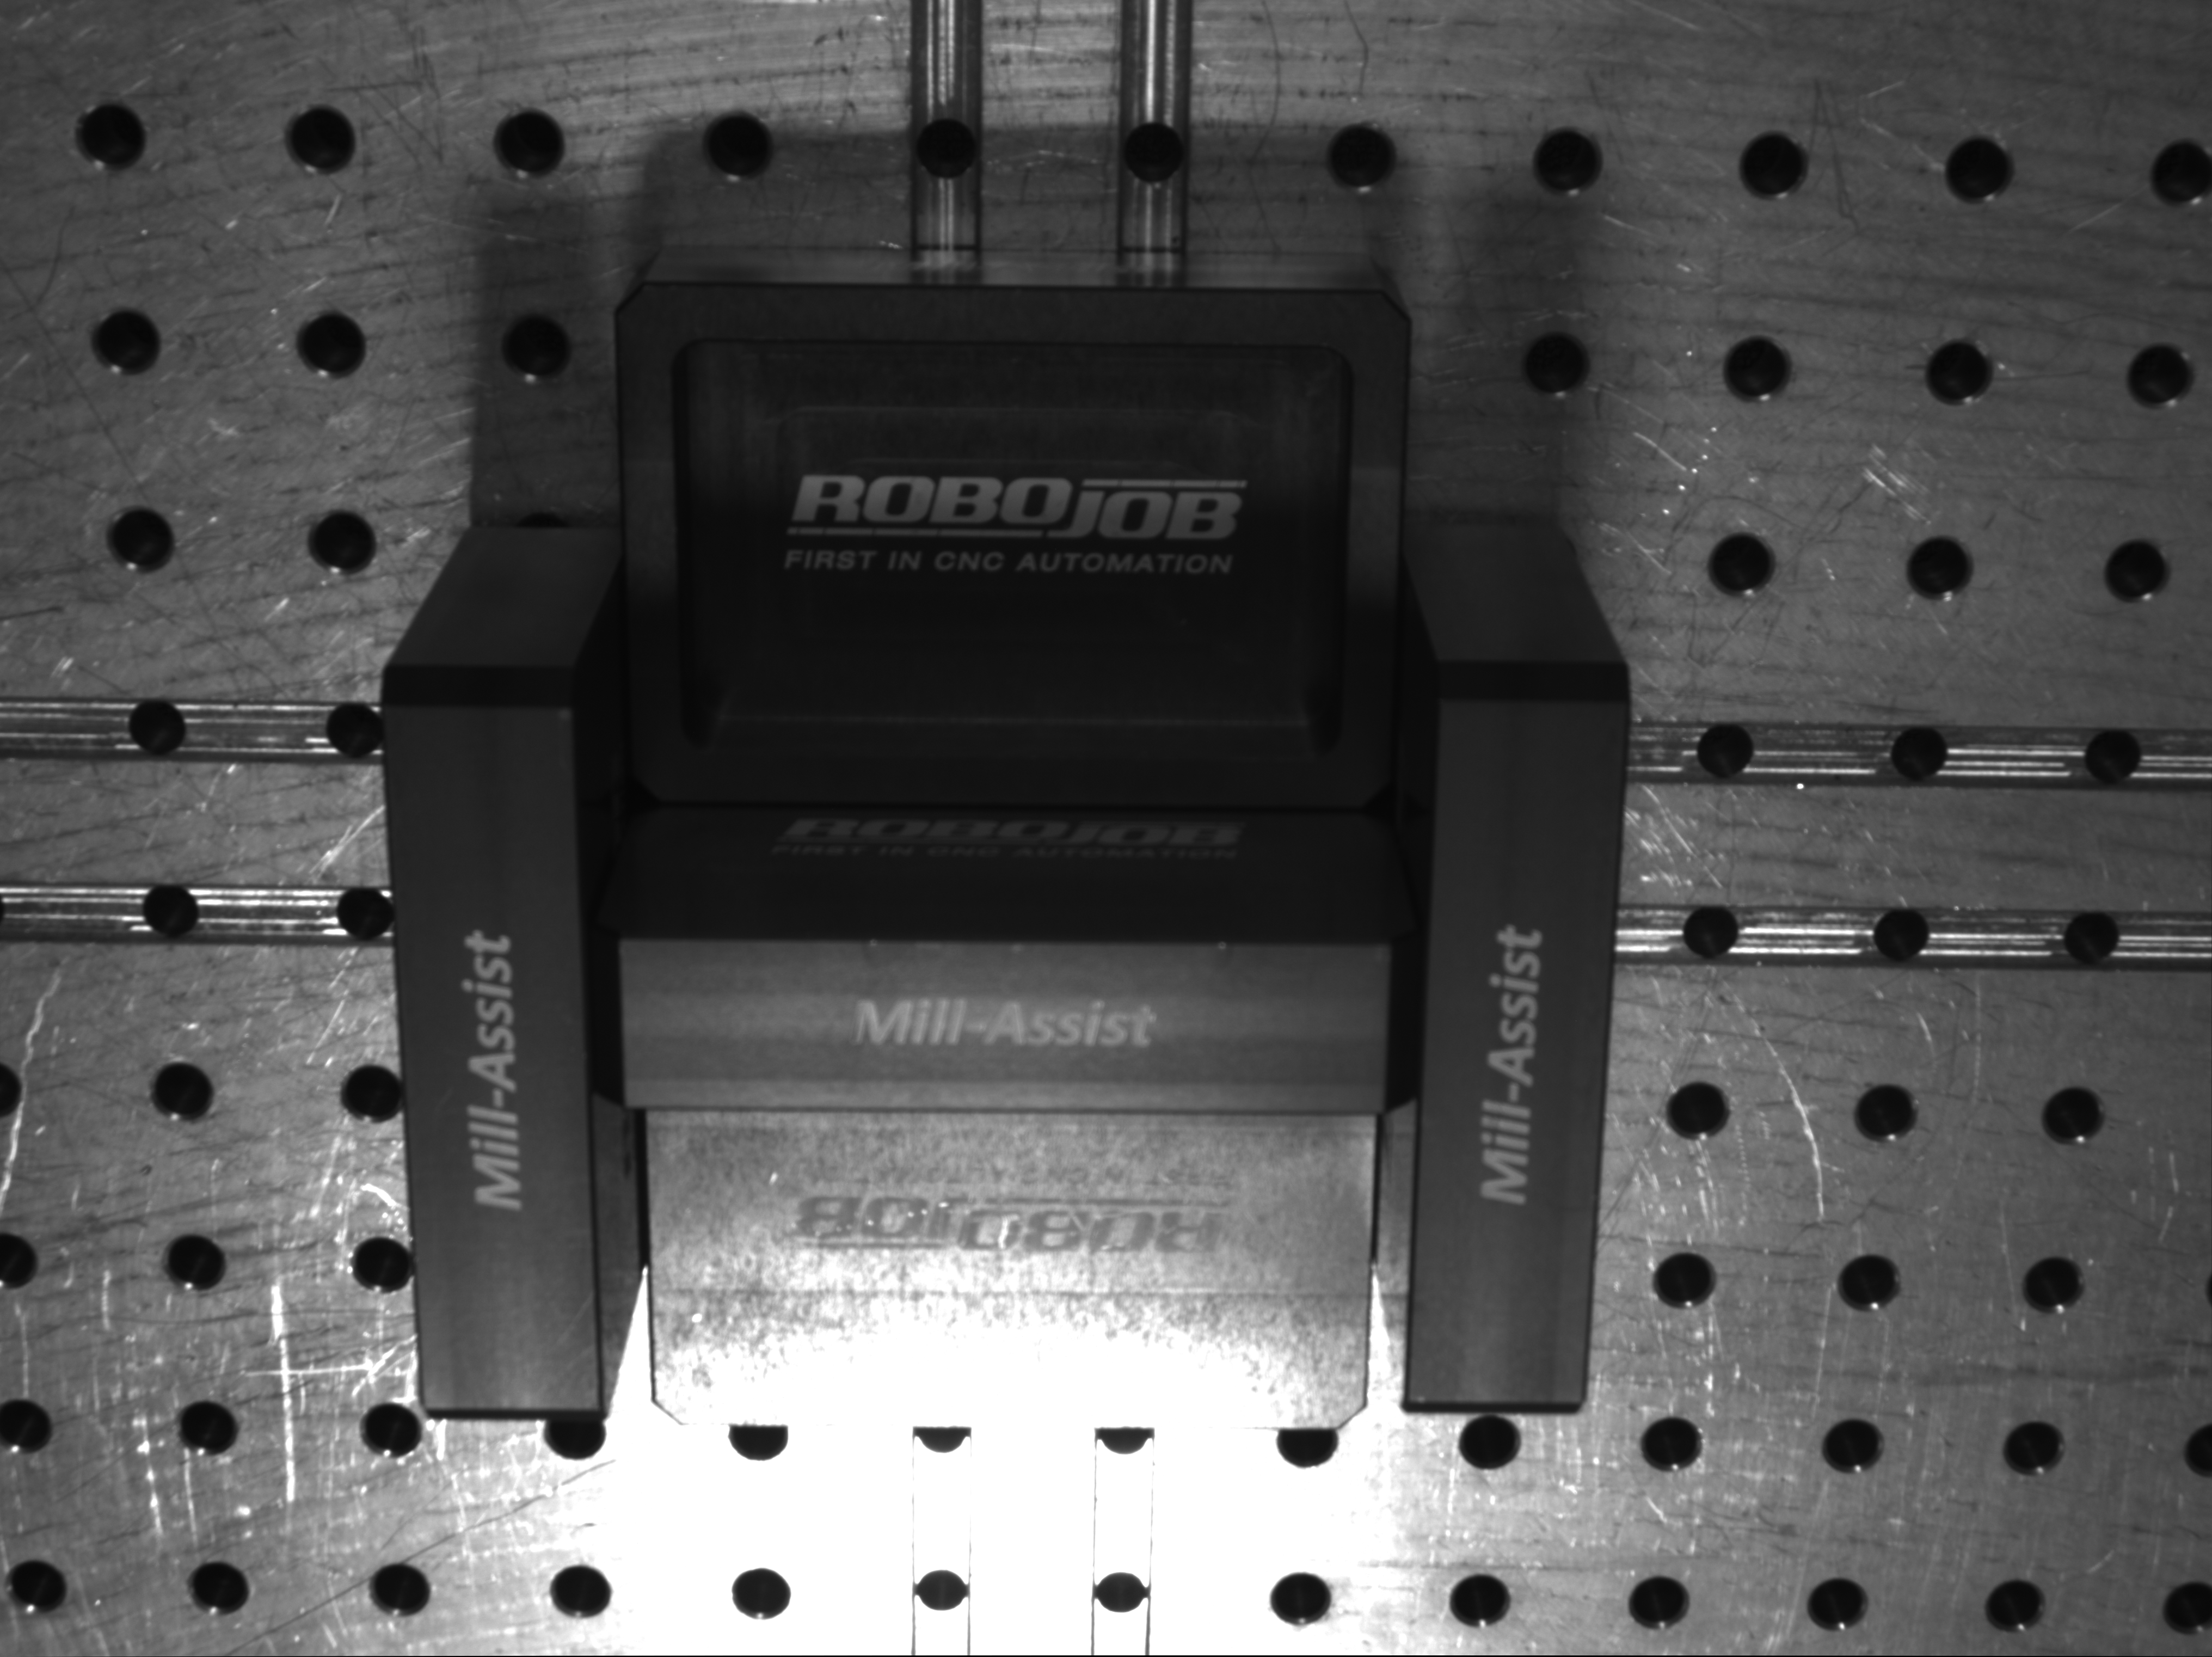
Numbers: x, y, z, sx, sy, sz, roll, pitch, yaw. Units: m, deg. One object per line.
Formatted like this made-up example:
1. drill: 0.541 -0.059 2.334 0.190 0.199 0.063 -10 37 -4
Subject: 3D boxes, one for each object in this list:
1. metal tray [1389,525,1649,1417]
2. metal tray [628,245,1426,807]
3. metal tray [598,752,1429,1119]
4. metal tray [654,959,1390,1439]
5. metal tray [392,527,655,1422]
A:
1. metal tray: 0.066 0.022 0.619 0.030 0.090 0.130 1 110 -1
2. metal tray: -0.013 -0.051 0.624 0.130 0.030 0.090 1 110 -1
3. metal tray: -0.015 0.016 0.615 0.130 0.090 0.030 1 110 -1
4. metal tray: -0.015 0.064 0.664 0.130 0.030 0.090 1 110 -1
5. metal tray: -0.095 0.023 0.617 0.030 0.090 0.130 1 110 -1
